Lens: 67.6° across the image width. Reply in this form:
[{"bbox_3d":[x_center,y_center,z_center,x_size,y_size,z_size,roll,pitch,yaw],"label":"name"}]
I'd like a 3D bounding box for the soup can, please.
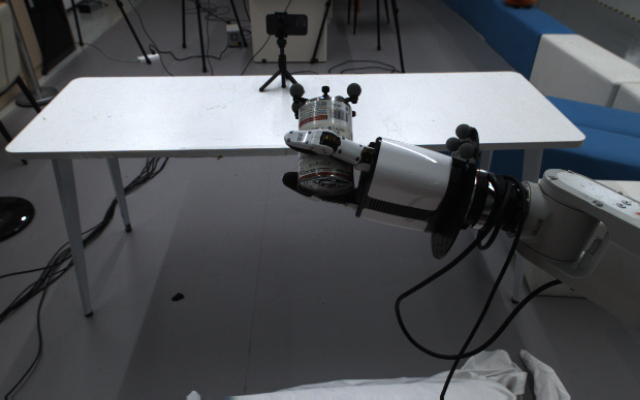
[{"bbox_3d":[0.008,-0.062,0.578,0.067,0.067,0.101,1,73,-2],"label":"soup can"}]
